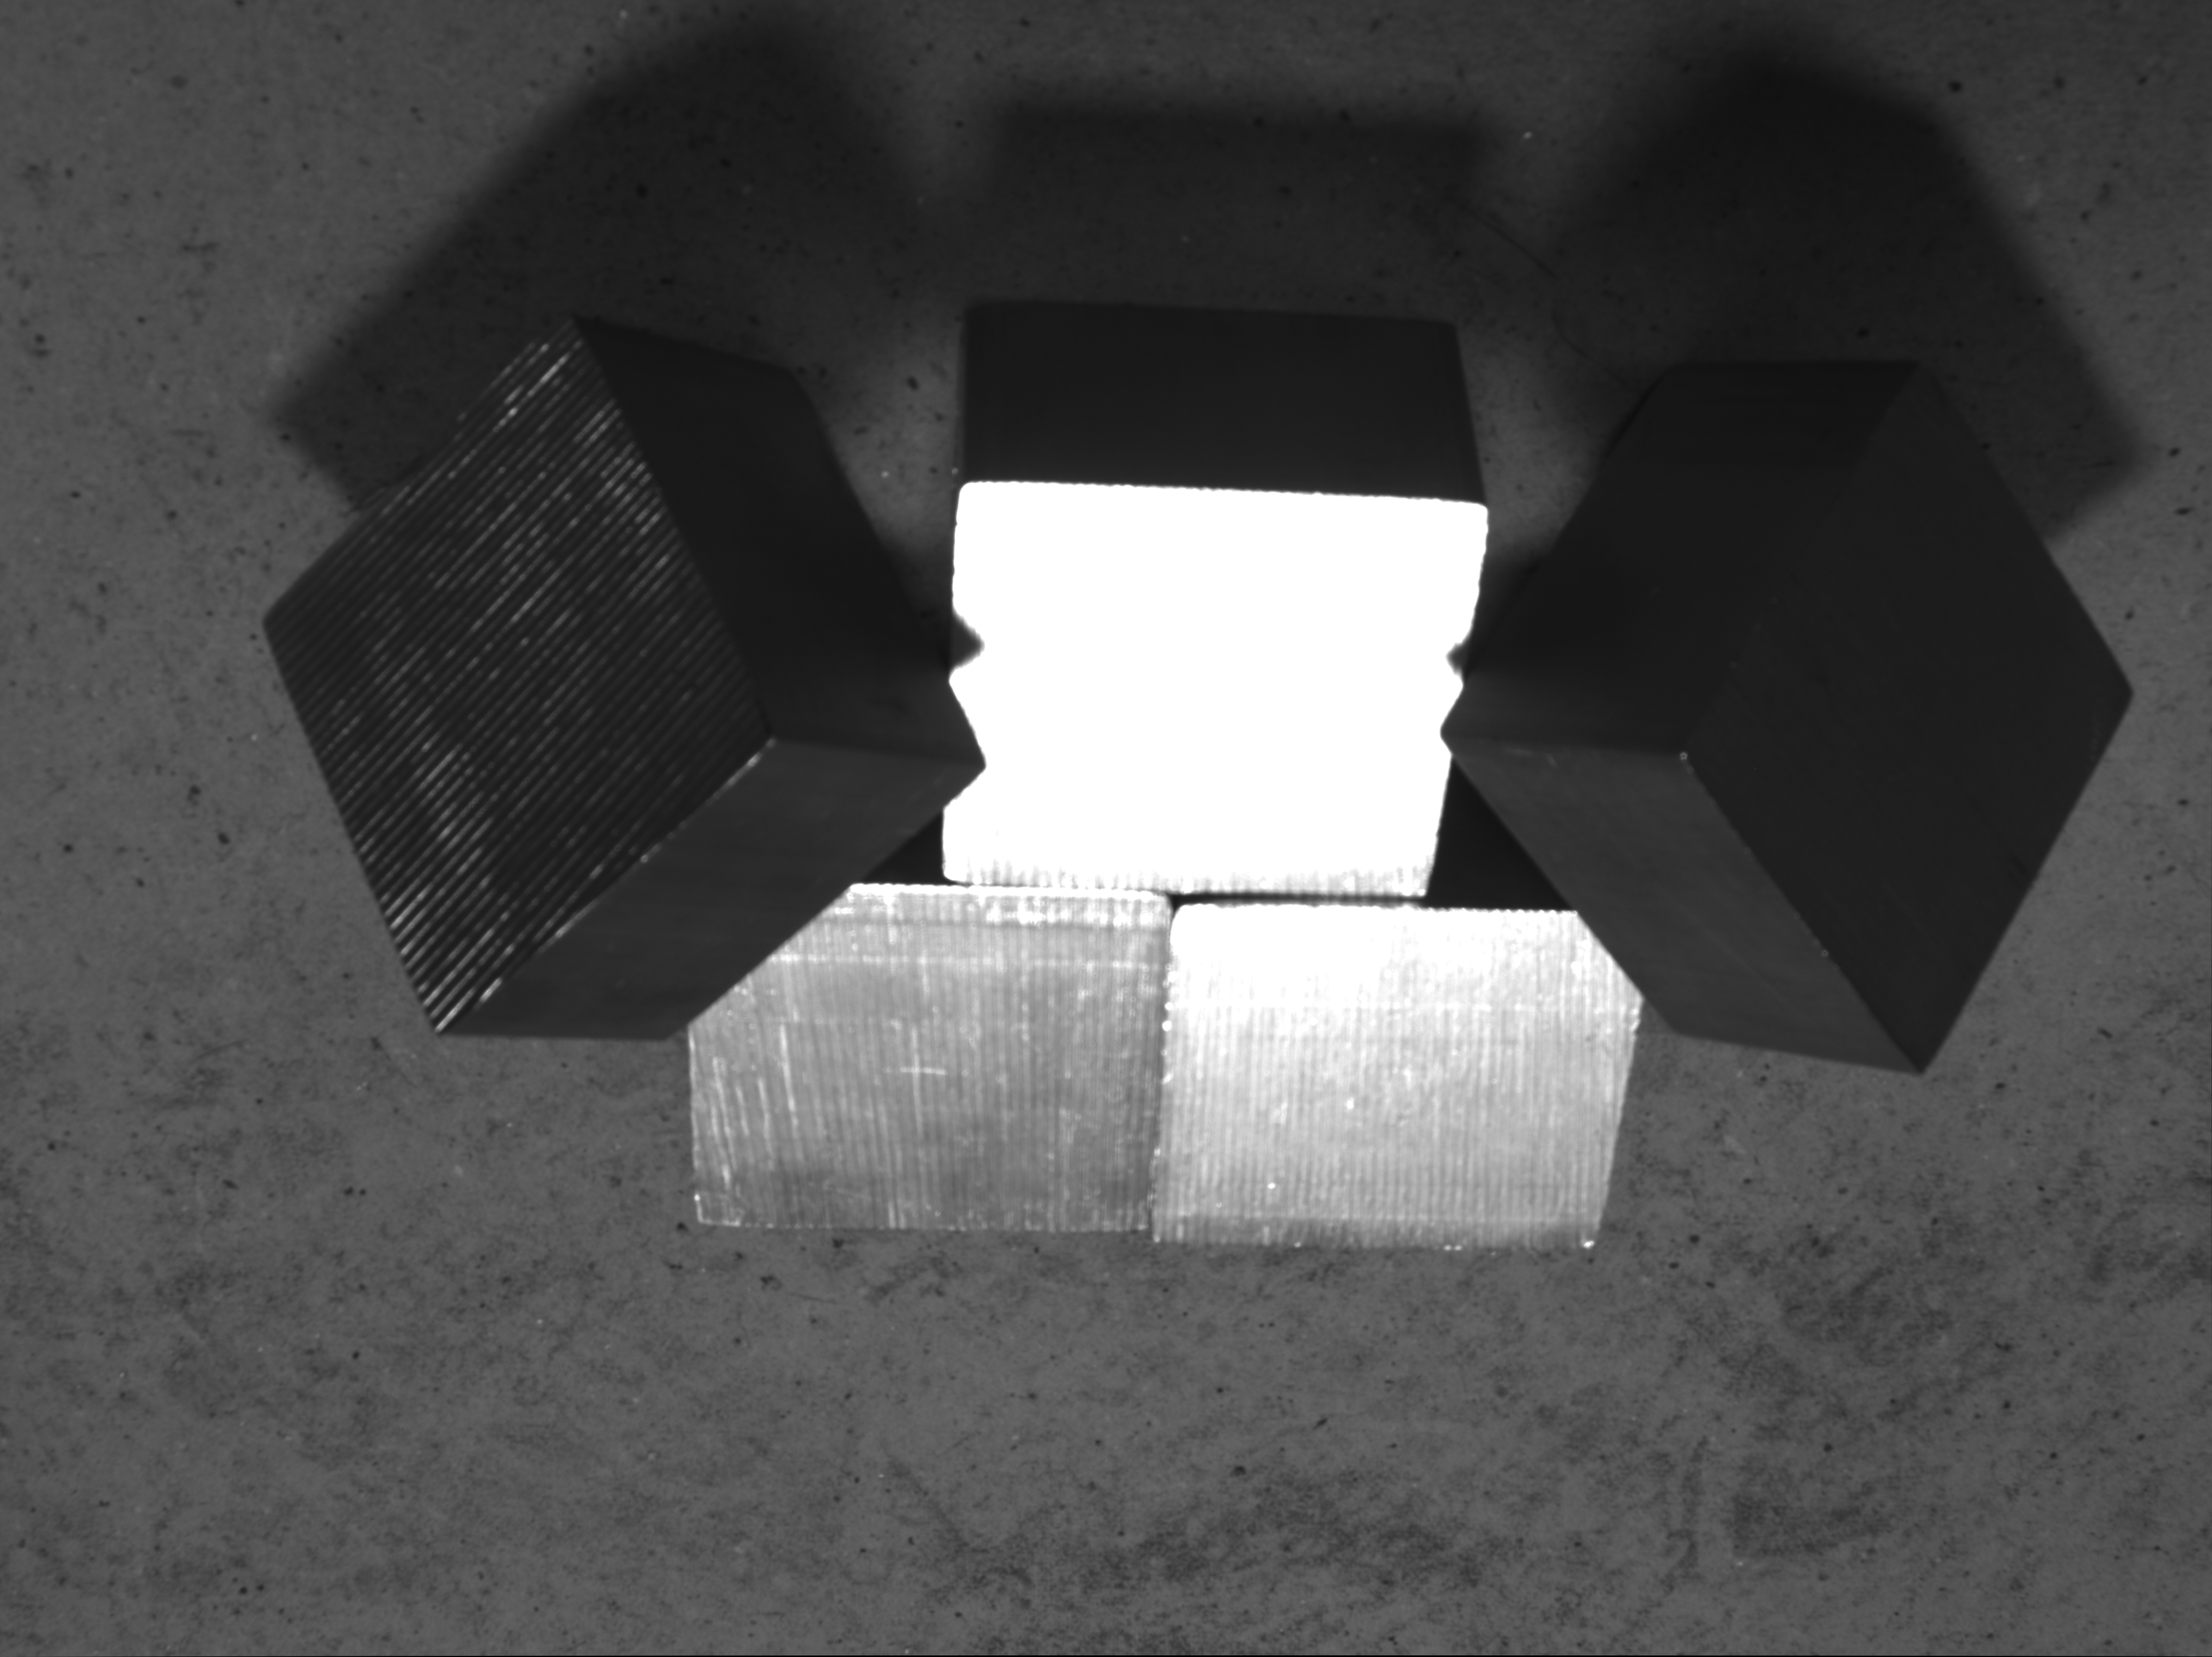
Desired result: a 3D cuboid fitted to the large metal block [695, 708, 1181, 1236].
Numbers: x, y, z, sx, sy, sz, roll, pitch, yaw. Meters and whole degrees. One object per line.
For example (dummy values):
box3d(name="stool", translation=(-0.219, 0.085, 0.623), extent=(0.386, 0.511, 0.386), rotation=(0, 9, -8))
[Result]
box3d(name="large metal block", translation=(-0.030, 0.025, 0.641), extent=(0.080, 0.050, 0.080), rotation=(1, 130, -3))

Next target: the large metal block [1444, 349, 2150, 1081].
box3d(name="large metal block", translation=(0.112, -0.019, 0.583), extent=(0.050, 0.080, 0.080), rotation=(7, 146, 49))

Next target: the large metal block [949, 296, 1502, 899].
box3d(name="large metal block", translation=(0.016, -0.037, 0.592), extent=(0.080, 0.050, 0.080), rotation=(2, 130, -4))

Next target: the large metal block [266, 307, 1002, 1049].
box3d(name="large metal block", translation=(-0.075, -0.021, 0.573), extent=(0.080, 0.080, 0.050), rotation=(-39, 155, 27))

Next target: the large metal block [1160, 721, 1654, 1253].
box3d(name="large metal block", translation=(0.051, 0.028, 0.645), extent=(0.080, 0.050, 0.080), rotation=(1, 130, -3))
